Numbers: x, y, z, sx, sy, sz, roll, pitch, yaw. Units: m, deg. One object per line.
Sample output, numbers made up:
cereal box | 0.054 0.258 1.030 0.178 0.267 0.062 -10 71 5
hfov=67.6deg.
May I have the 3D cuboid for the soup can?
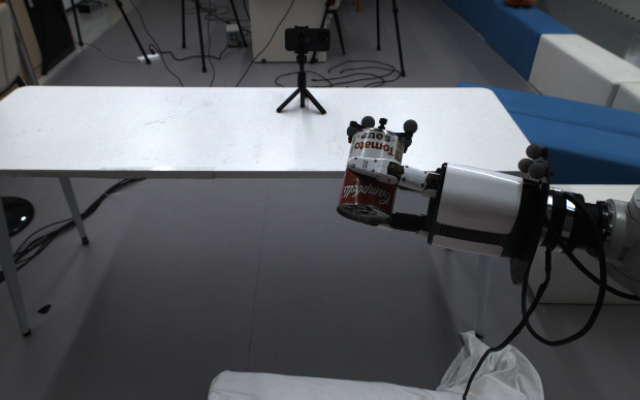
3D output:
soup can | 0.064 -0.030 0.595 0.067 0.067 0.101 9 72 10
